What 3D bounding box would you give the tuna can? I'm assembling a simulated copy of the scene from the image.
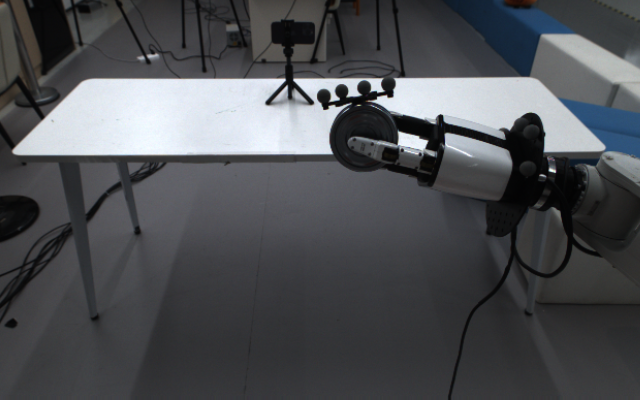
[{"bbox_3d":[0.059,-0.073,0.604,0.085,0.085,0.034,6,18,5],"label":"tuna can"}]
